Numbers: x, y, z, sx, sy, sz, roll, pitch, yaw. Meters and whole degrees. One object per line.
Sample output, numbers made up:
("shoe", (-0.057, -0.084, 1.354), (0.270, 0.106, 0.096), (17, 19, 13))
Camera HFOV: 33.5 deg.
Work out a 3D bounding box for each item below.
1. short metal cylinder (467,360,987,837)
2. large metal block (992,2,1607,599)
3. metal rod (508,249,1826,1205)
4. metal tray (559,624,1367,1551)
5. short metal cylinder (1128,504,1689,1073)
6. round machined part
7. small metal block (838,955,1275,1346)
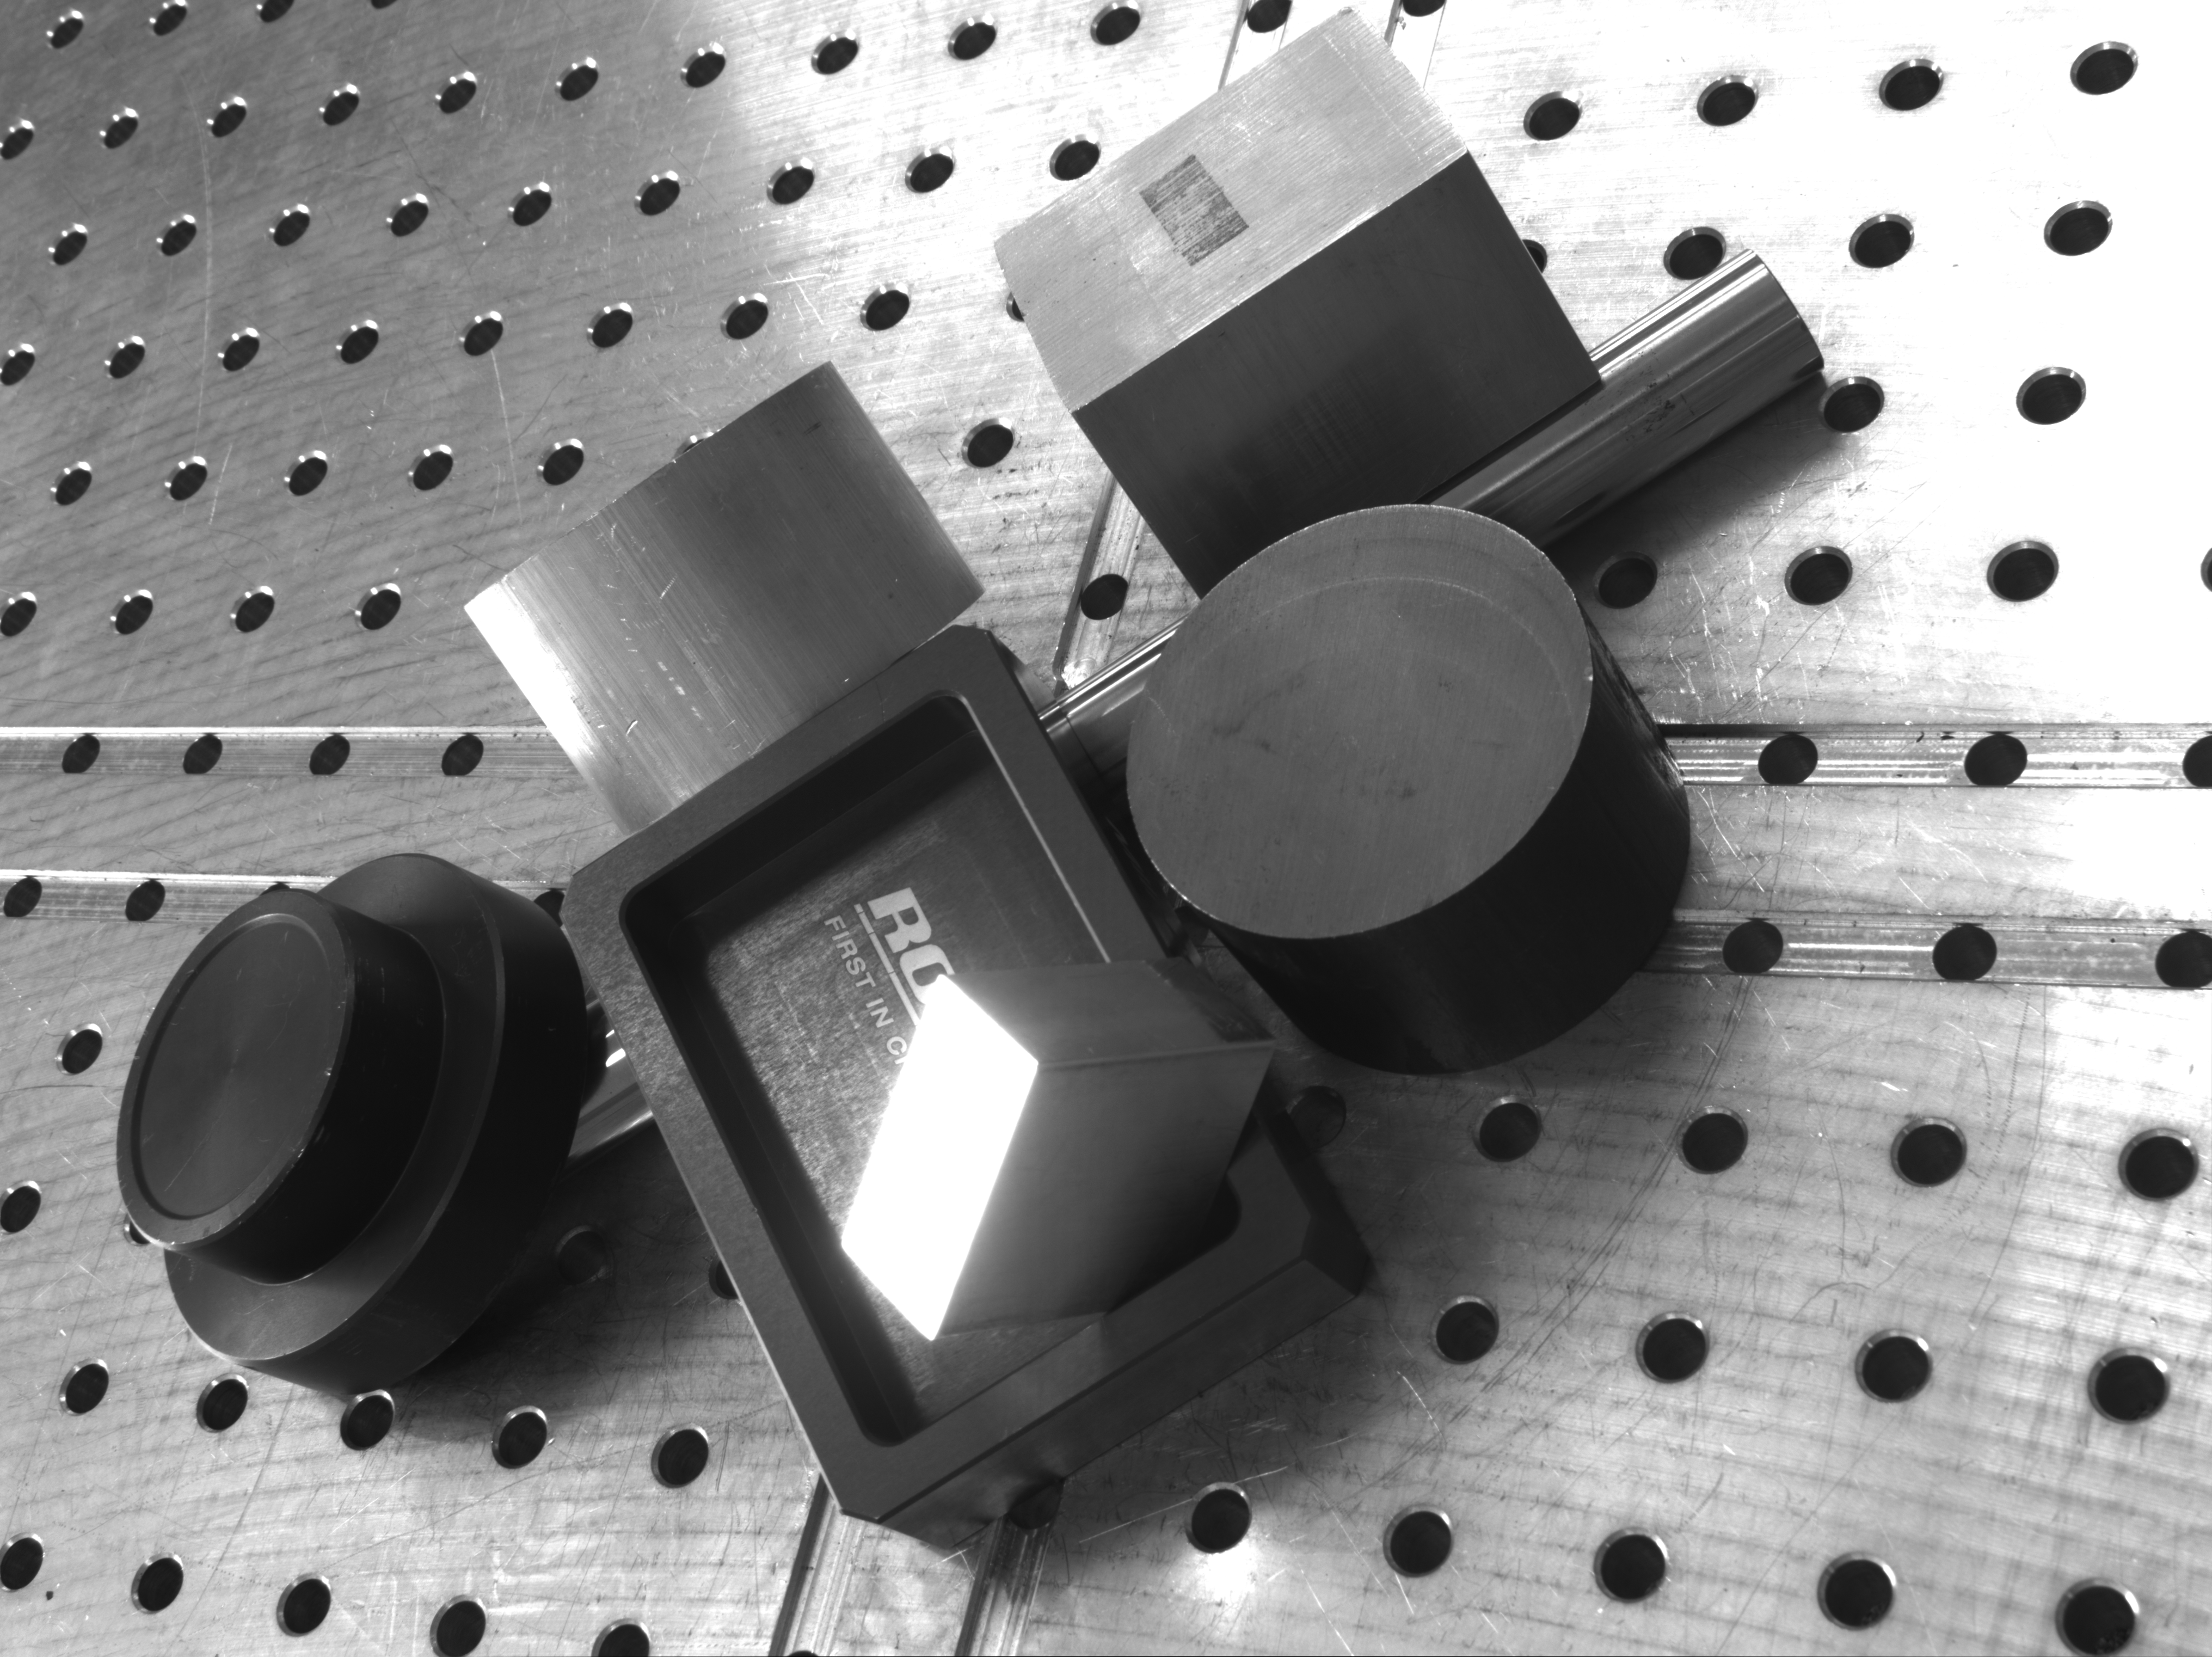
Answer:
("short metal cylinder", (-0.069, -0.042, 0.669), (0.080, 0.050, 0.080), (-34, 7, 5))
("large metal block", (0.032, -0.093, 0.657), (0.080, 0.050, 0.080), (-32, 31, 7))
("metal rod", (-0.006, -0.009, 0.659), (0.300, 0.025, 0.025), (-33, 51, 7))
("metal tray", (-0.026, 0.042, 0.615), (0.090, 0.030, 0.130), (-33, 64, 7))
("short metal cylinder", (0.050, -0.006, 0.608), (0.080, 0.050, 0.080), (-14, 56, 21))
("round machined part", (-0.142, 0.050, 0.667), (0.098, 0.042, 0.098), (-23, 53, 35))
("small metal block", (-0.008, 0.049, 0.569), (0.025, 0.050, 0.050), (40, 120, 37))
